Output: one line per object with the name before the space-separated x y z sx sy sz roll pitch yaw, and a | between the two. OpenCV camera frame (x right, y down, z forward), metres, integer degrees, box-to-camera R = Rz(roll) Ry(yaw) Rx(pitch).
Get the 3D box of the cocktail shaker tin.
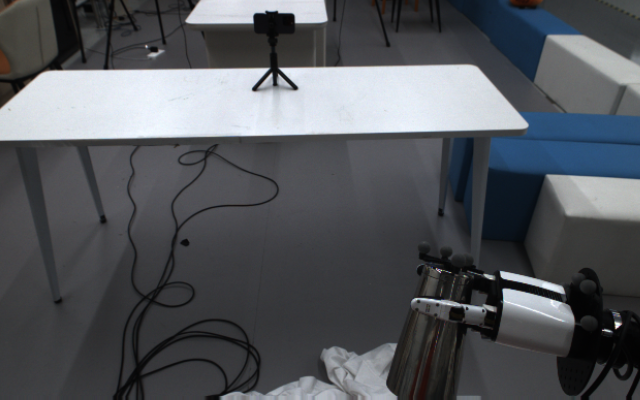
cocktail shaker tin | 0.153 0.170 0.644 0.093 0.170 0.093 13 3 -1
